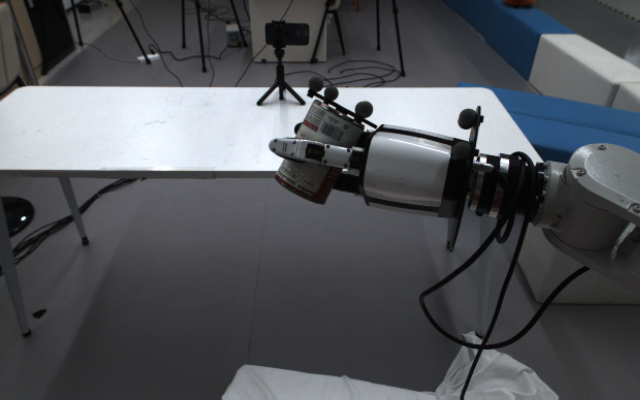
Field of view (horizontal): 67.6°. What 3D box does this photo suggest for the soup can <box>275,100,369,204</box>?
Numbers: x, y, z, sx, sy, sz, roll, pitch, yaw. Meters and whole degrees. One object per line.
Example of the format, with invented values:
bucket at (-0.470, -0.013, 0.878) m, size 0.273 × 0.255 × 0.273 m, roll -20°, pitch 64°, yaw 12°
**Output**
soup can at (0.000, -0.055, 0.559) m, size 0.067 × 0.101 × 0.067 m, roll 27°, pitch 10°, yaw -5°
